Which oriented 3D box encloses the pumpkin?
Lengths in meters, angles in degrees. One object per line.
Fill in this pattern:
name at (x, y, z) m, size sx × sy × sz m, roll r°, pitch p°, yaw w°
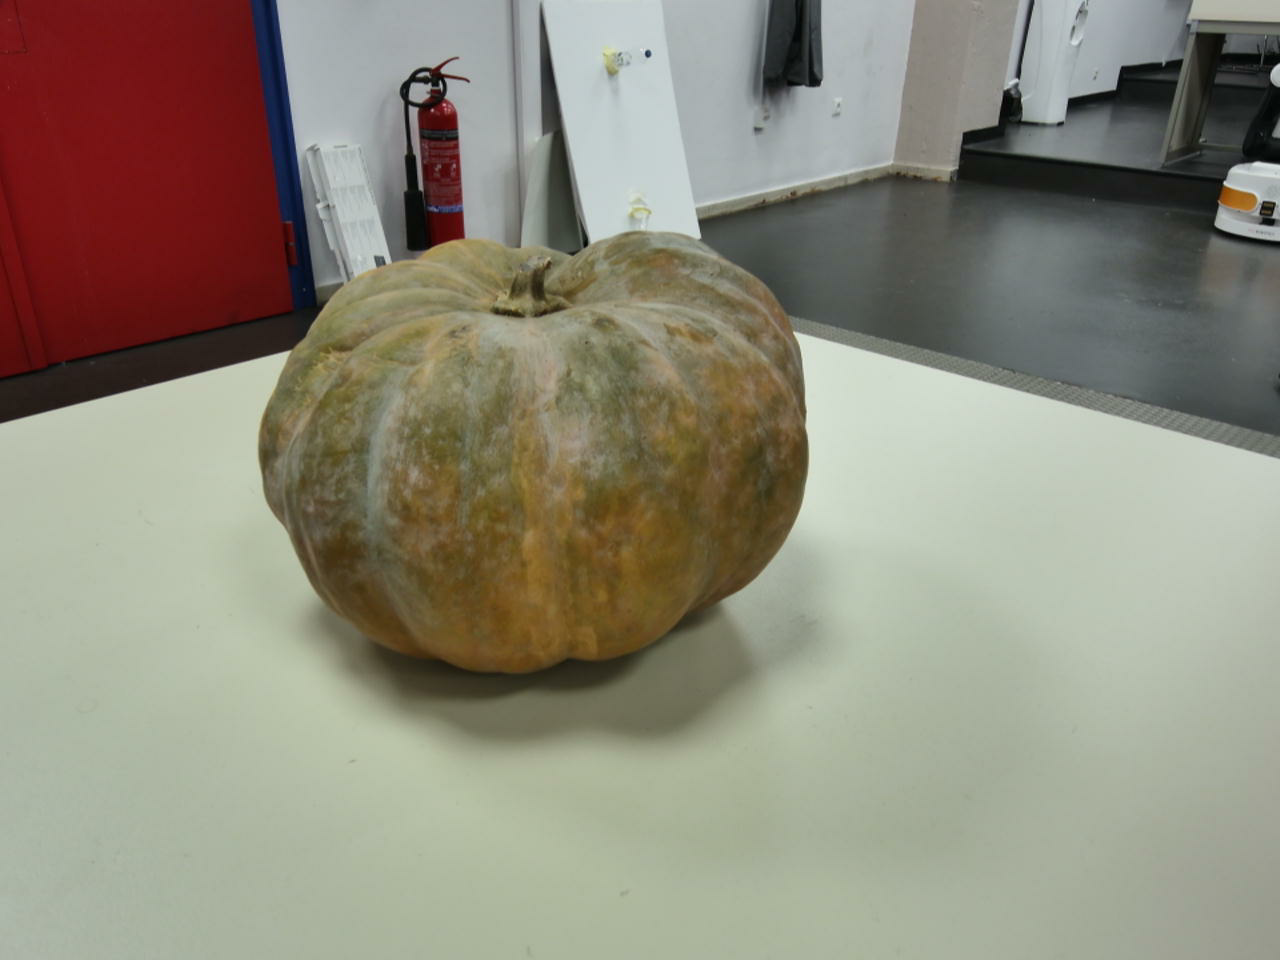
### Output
pumpkin at (-0.046, -0.021, 0.459) m, size 0.252 × 0.169 × 0.251 m, roll 0°, pitch 25°, yaw 0°
